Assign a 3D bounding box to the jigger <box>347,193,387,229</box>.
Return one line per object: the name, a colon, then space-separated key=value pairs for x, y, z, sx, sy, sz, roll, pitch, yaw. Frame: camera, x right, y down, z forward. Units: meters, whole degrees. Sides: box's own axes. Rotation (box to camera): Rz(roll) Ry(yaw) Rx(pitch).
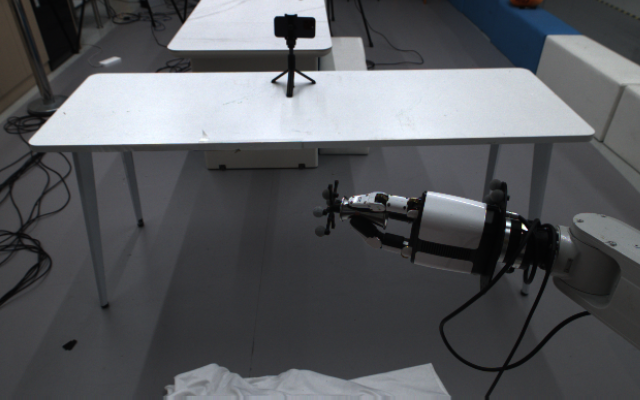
jigger: x=0.073 y=0.012 z=0.722 sx=0.071 sy=0.043 sz=0.043 roll=8 pitch=35 yaw=14
